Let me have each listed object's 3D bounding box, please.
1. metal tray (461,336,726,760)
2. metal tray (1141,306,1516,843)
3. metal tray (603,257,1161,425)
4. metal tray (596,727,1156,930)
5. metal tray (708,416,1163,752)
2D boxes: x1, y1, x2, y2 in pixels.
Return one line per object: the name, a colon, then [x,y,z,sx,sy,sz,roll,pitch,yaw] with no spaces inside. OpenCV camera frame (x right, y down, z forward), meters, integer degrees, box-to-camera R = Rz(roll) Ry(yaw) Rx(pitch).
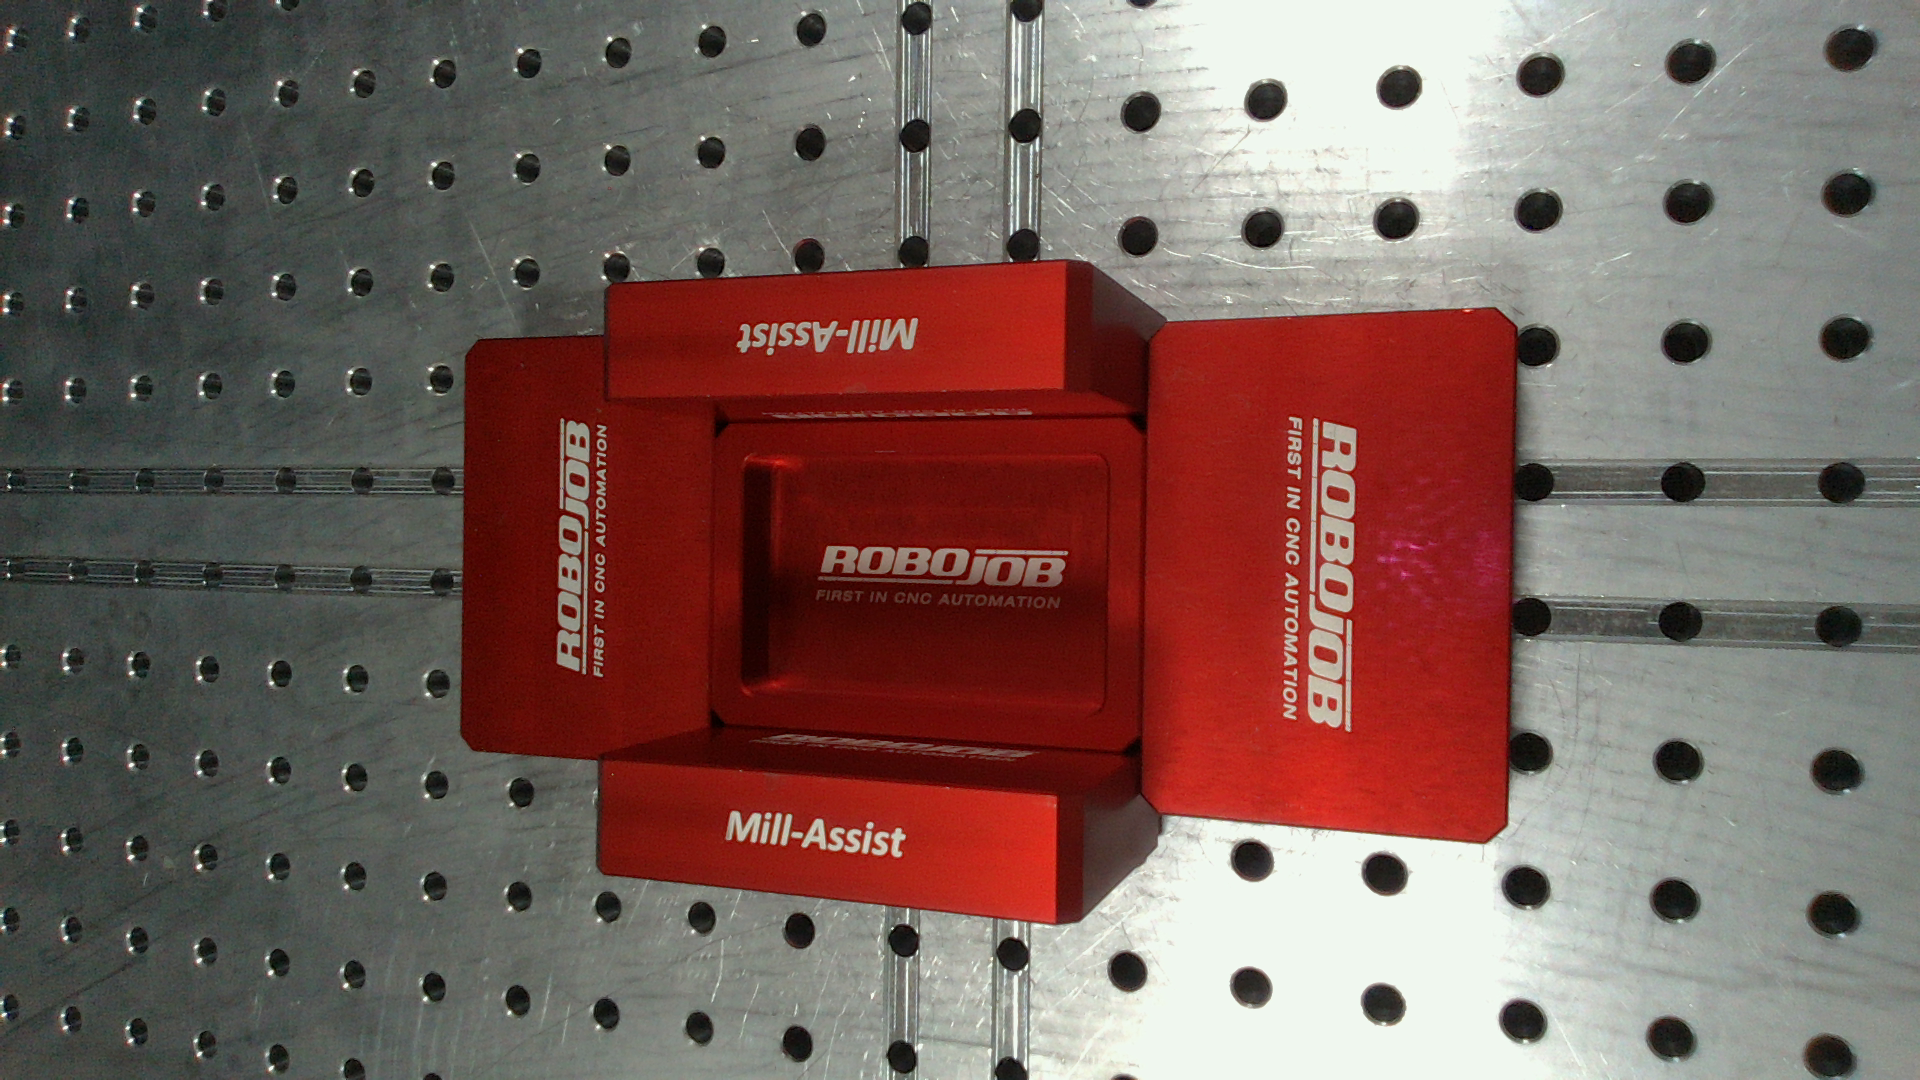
metal tray: [-0.111,0.002,0.435,0.090,0.030,0.130,1,90,20]
metal tray: [0.095,0.008,0.359,0.090,0.030,0.130,1,90,19]
metal tray: [-0.017,-0.049,0.370,0.130,0.090,0.030,1,90,20]
metal tray: [-0.019,0.071,0.369,0.130,0.090,0.030,1,90,20]
metal tray: [-0.008,0.011,0.396,0.130,0.030,0.090,1,90,20]
